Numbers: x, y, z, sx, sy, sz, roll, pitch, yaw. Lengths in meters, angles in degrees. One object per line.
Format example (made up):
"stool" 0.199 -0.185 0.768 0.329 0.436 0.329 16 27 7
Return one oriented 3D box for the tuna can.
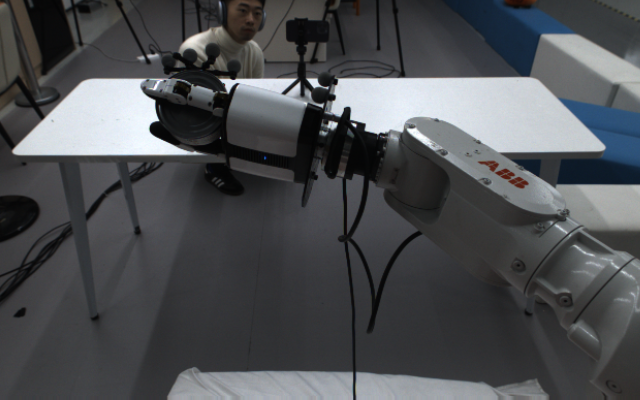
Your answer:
"tuna can" -0.149 -0.109 0.581 0.085 0.034 0.085 0 77 -2
